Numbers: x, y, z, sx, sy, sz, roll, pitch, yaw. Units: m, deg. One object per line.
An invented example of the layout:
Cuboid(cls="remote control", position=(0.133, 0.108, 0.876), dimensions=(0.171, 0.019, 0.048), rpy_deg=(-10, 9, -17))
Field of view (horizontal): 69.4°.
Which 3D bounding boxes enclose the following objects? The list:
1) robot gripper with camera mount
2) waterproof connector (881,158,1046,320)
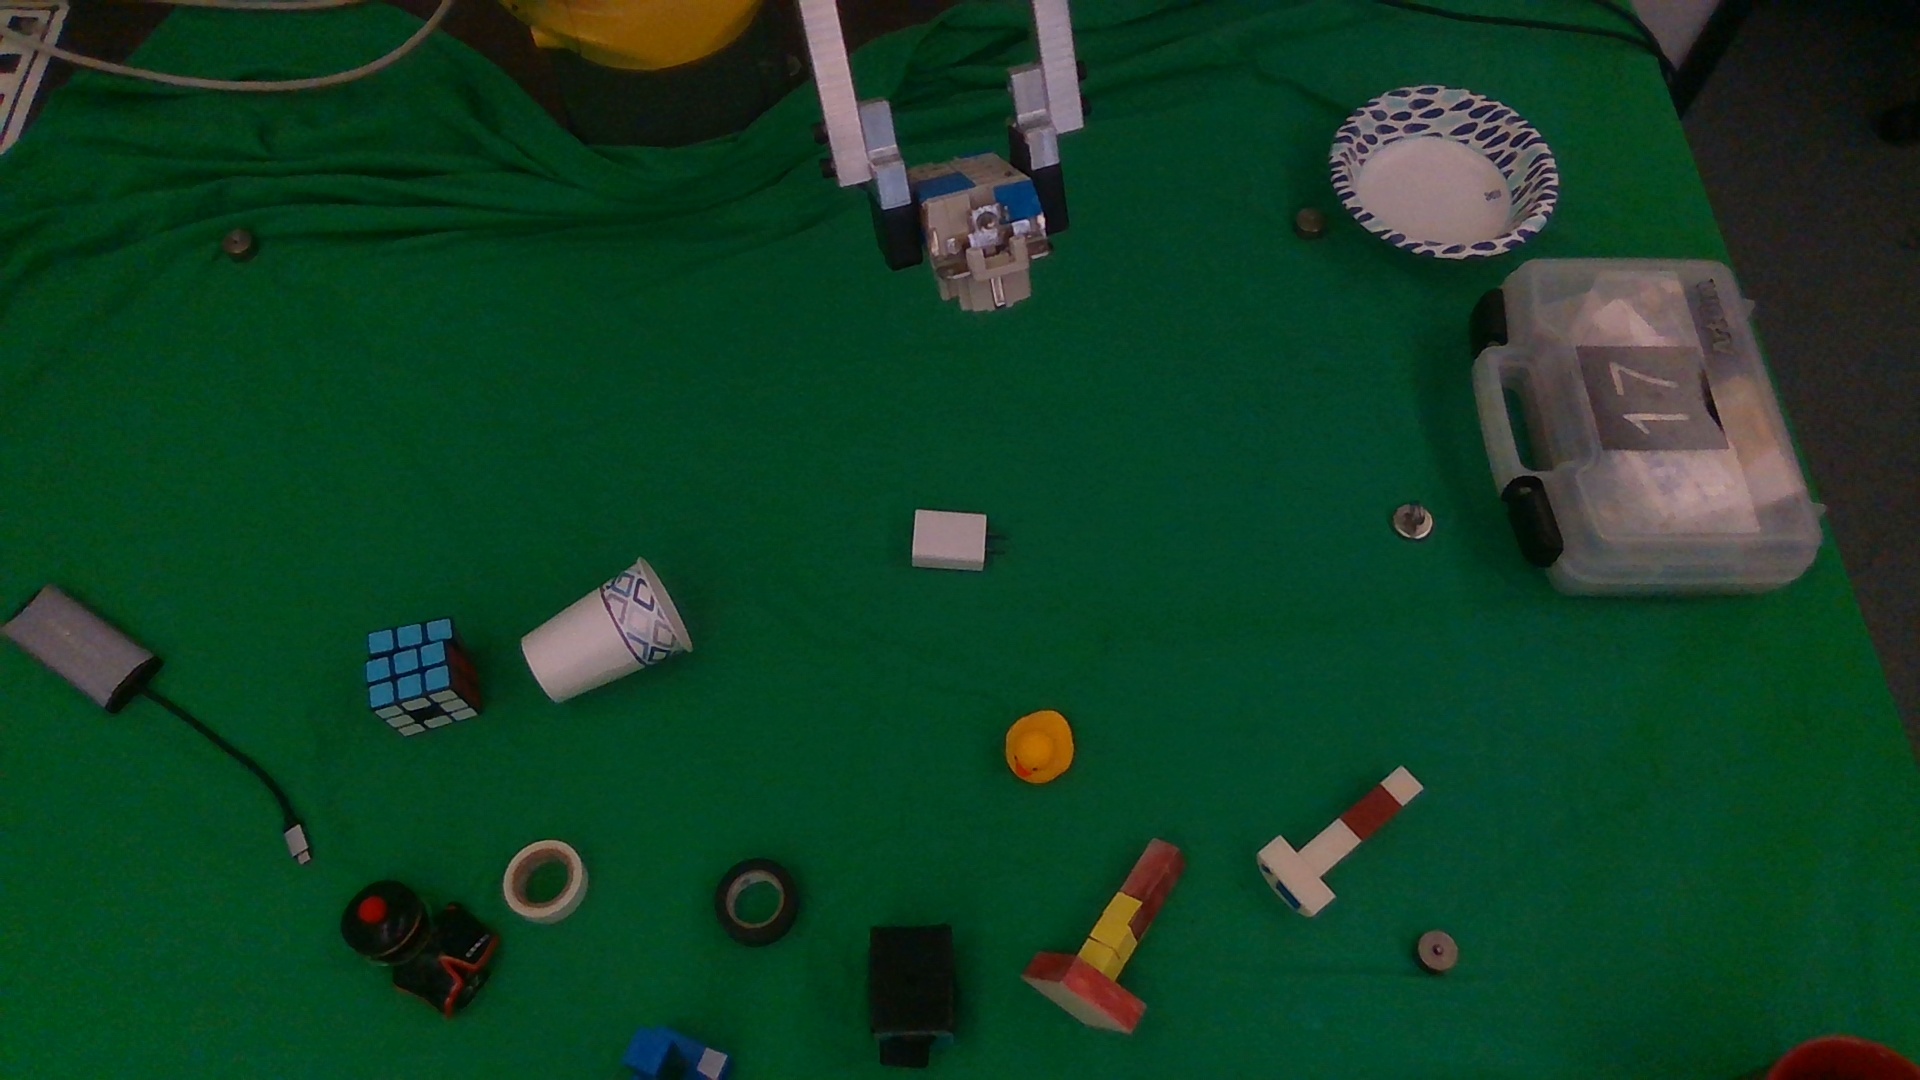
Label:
Cuboid(cls="robot gripper with camera mount", position=(0.012, -0.121, 0.303), dimensions=(0.119, 0.158, 0.194), rpy_deg=(-16, 27, -8))
Cuboid(cls="waterproof connector", position=(-0.001, -0.089, 0.410), dimensions=(0.035, 0.037, 0.065), rpy_deg=(-15, 28, -12))
